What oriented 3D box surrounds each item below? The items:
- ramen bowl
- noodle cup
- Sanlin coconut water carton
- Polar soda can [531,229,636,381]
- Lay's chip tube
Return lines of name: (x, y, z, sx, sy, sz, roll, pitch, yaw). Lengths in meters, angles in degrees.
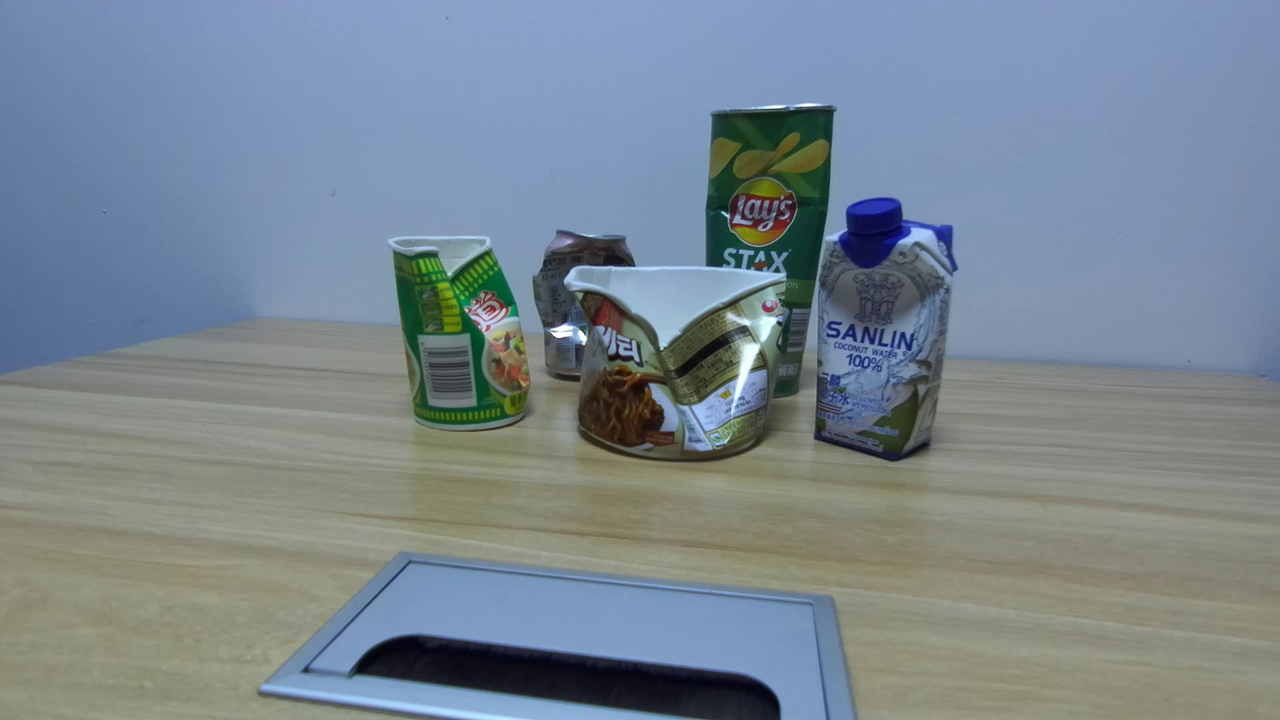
ramen bowl: (0.020, -0.006, 0.425, 0.137, 0.098, 0.137, 2, 12, 0)
noodle cup: (-0.108, -0.020, 0.437, 0.083, 0.122, 0.075, -23, 19, -40)
Sanlin coconut water carton: (0.136, -0.019, 0.399, 0.077, 0.142, 0.058, 13, 22, 43)
Polar soda can: (-0.037, -0.042, 0.547, 0.070, 0.114, 0.074, 10, 16, 21)
Lay's chip tube: (0.089, -0.076, 0.510, 0.075, 0.199, 0.069, -1, 13, -8)
